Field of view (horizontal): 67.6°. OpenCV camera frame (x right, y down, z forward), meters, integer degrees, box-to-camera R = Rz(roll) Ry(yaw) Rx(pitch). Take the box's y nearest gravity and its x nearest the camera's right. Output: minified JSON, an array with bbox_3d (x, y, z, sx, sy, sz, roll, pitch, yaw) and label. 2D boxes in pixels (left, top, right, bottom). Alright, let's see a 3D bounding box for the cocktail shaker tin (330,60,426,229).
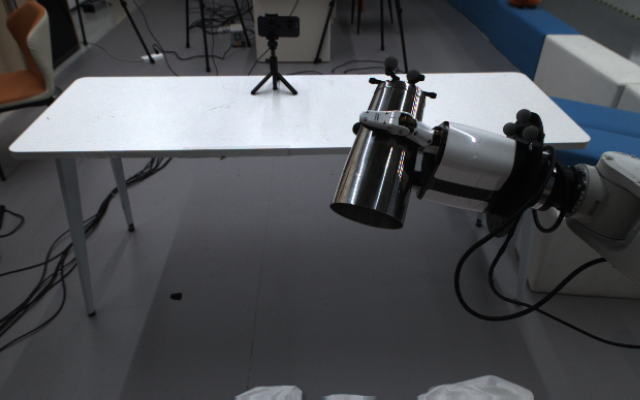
[{"bbox_3d":[0.081,-0.058,0.603,0.093,0.093,0.170,13,76,16],"label":"cocktail shaker tin"}]
